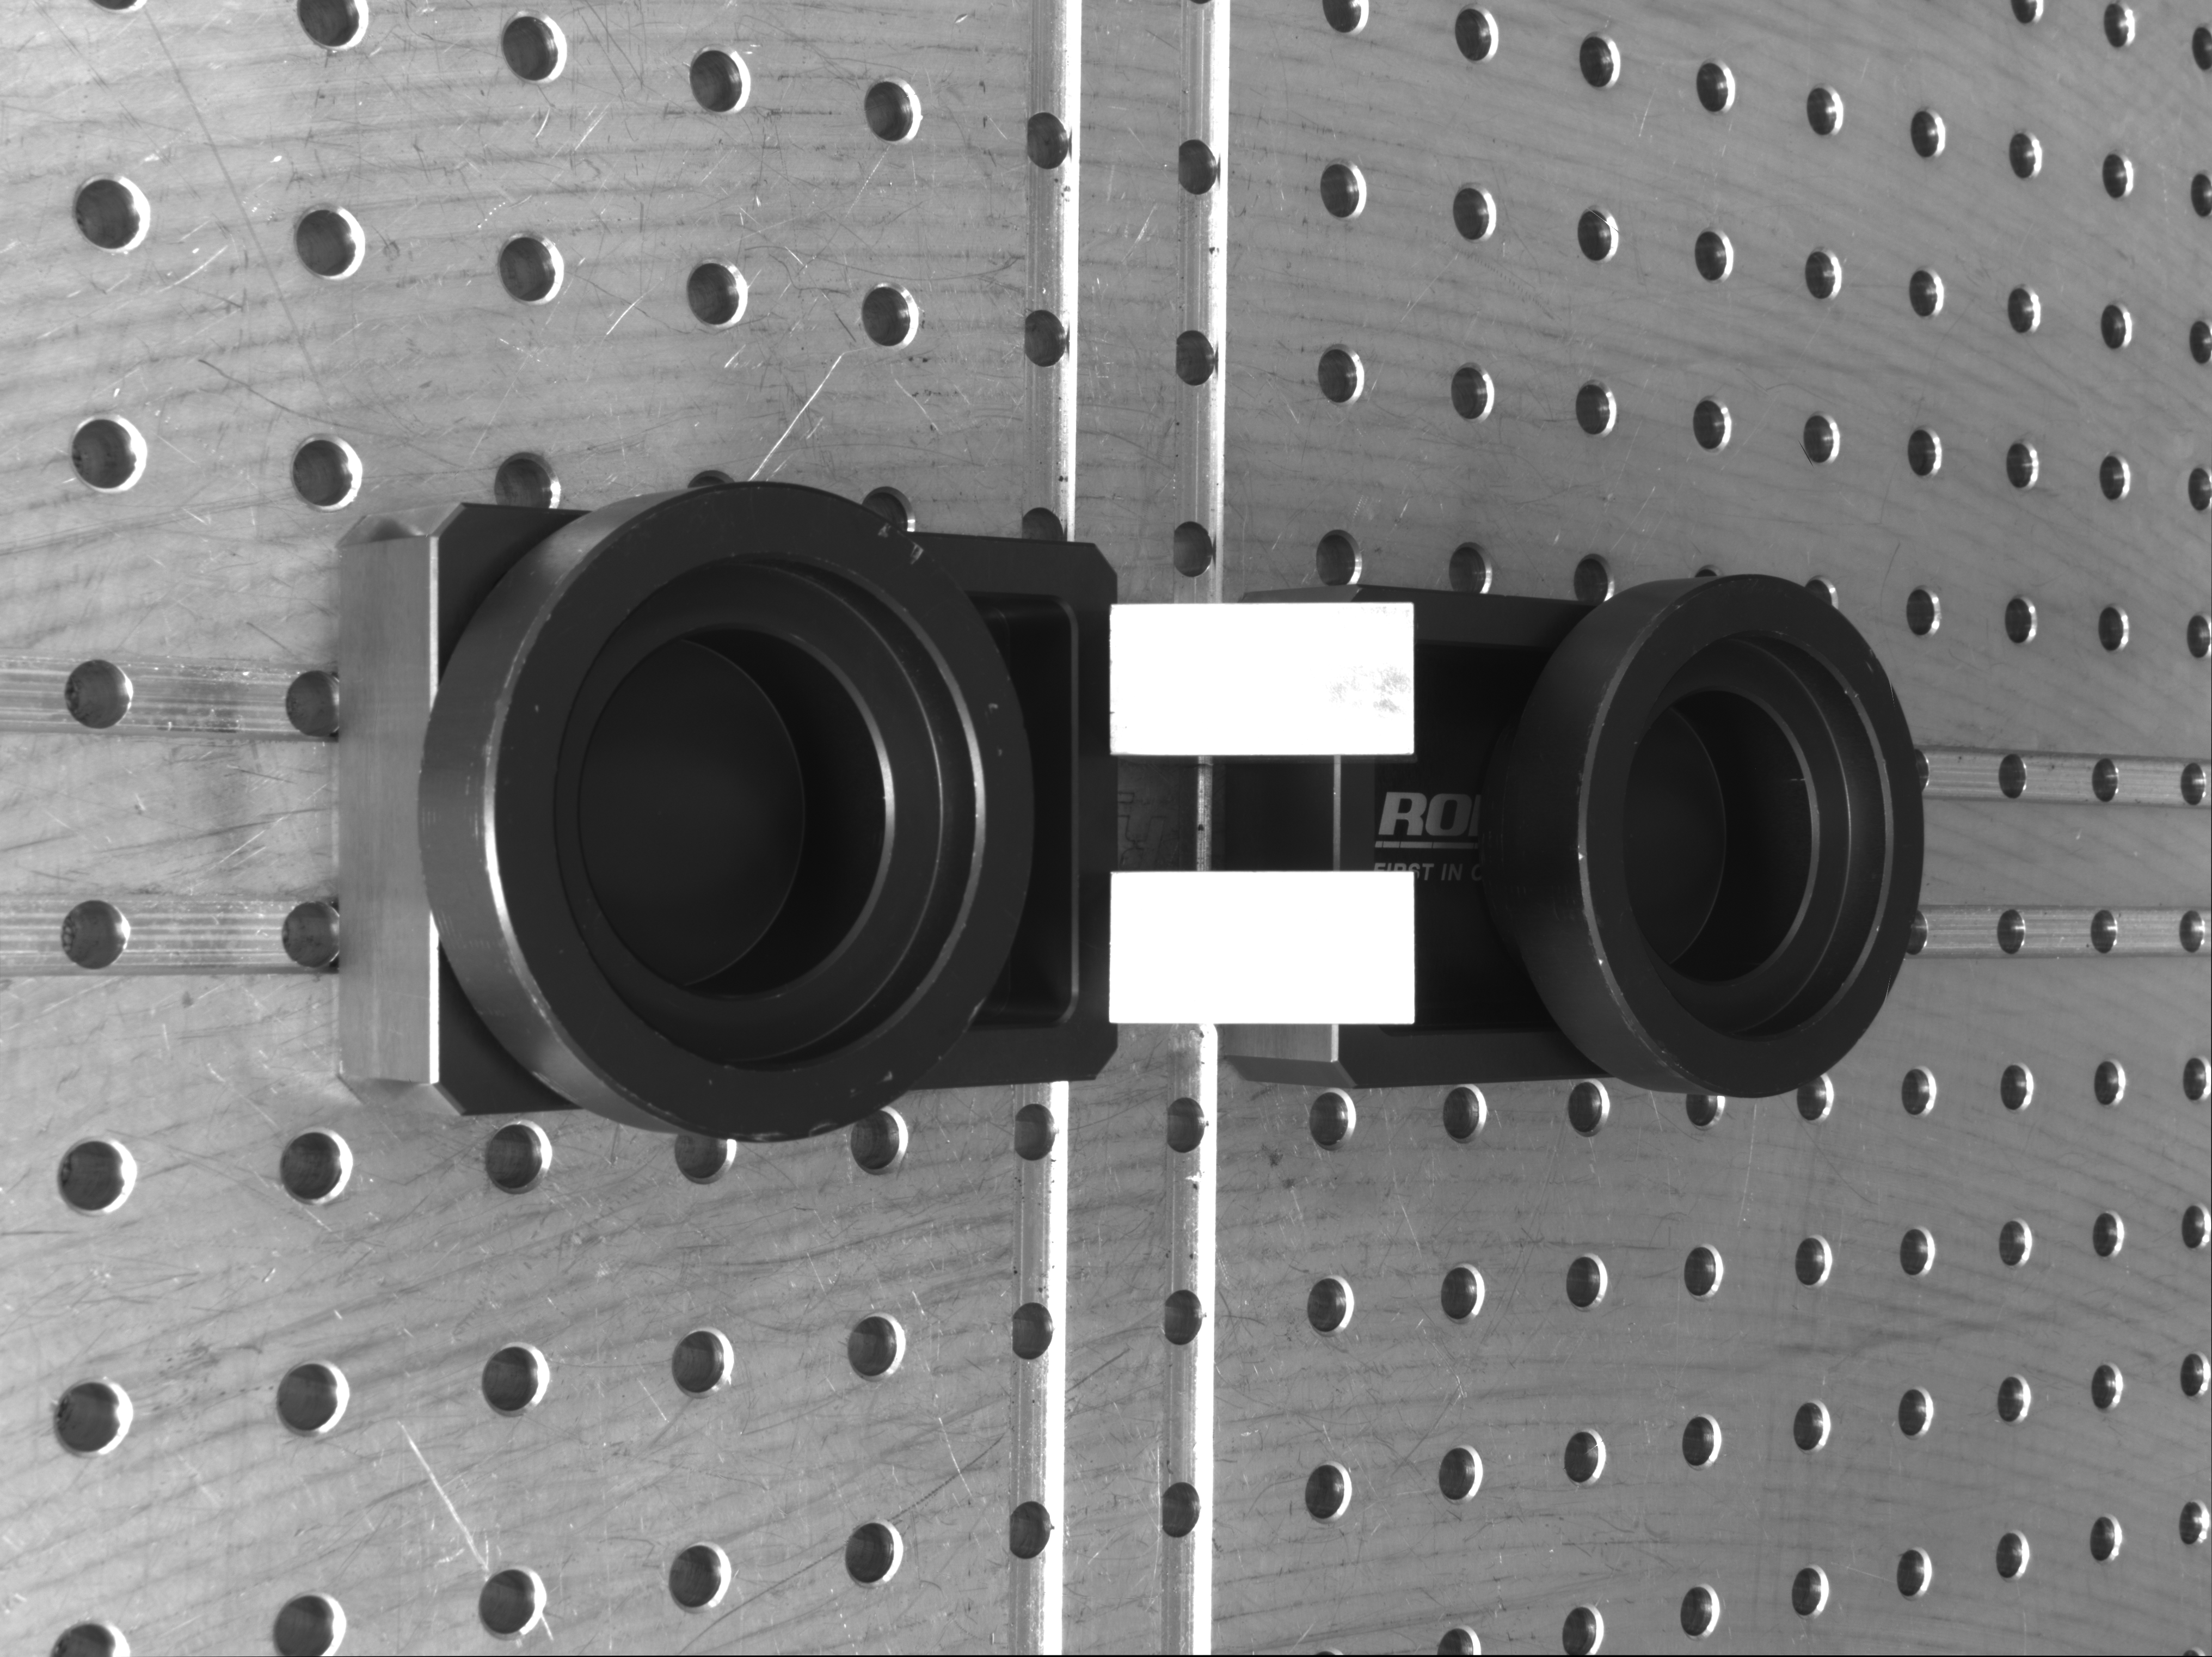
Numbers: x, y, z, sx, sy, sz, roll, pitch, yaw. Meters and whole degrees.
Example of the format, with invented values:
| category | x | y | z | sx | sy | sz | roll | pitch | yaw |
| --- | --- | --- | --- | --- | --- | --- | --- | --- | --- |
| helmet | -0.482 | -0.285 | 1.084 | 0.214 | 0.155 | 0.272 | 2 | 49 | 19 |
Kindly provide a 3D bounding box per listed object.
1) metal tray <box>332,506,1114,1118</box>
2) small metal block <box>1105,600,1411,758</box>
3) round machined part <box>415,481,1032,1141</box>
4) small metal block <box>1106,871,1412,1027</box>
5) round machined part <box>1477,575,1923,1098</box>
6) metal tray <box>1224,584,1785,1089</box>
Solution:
| category | x | y | z | sx | sy | sz | roll | pitch | yaw |
| --- | --- | --- | --- | --- | --- | --- | --- | --- | --- |
| metal tray | -0.058 | -0.003 | 0.588 | 0.131 | 0.030 | 0.090 | -1 | 92 | -40 |
| small metal block | 0.027 | -0.025 | 0.627 | 0.050 | 0.050 | 0.025 | 1 | 89 | 5 |
| round machined part | -0.062 | -0.003 | 0.560 | 0.098 | 0.042 | 0.098 | 0 | 90 | -40 |
| small metal block | 0.027 | 0.020 | 0.626 | 0.050 | 0.050 | 0.025 | 1 | 89 | 5 |
| round machined part | 0.109 | 0.002 | 0.702 | 0.098 | 0.042 | 0.098 | 0 | 90 | -40 |
| metal tray | 0.081 | 0.002 | 0.704 | 0.131 | 0.030 | 0.090 | 1 | 89 | -40 |
